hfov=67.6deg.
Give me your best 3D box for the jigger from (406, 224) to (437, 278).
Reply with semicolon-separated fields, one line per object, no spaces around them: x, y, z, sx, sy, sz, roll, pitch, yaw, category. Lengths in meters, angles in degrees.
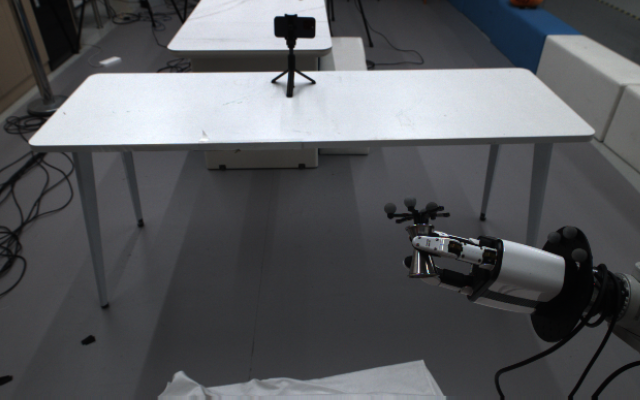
0.139;0.068;0.659;0.043;0.043;0.071;0;75;-3;jigger
